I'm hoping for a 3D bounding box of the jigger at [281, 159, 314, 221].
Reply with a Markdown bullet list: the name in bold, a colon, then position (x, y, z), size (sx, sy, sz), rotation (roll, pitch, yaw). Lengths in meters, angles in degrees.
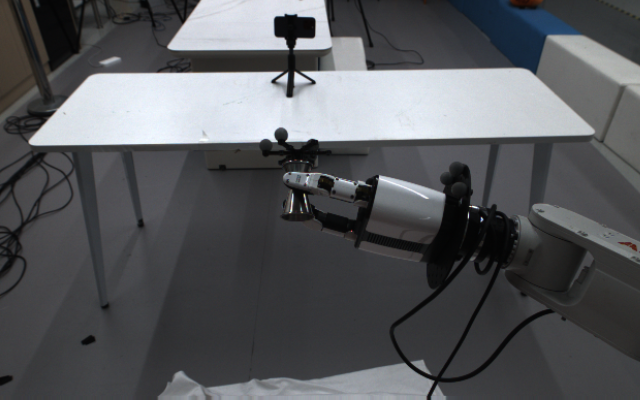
- **jigger**: position (-0.027, -0.012, 0.603), size (0.043, 0.043, 0.071), rotation (0, 75, -3)
